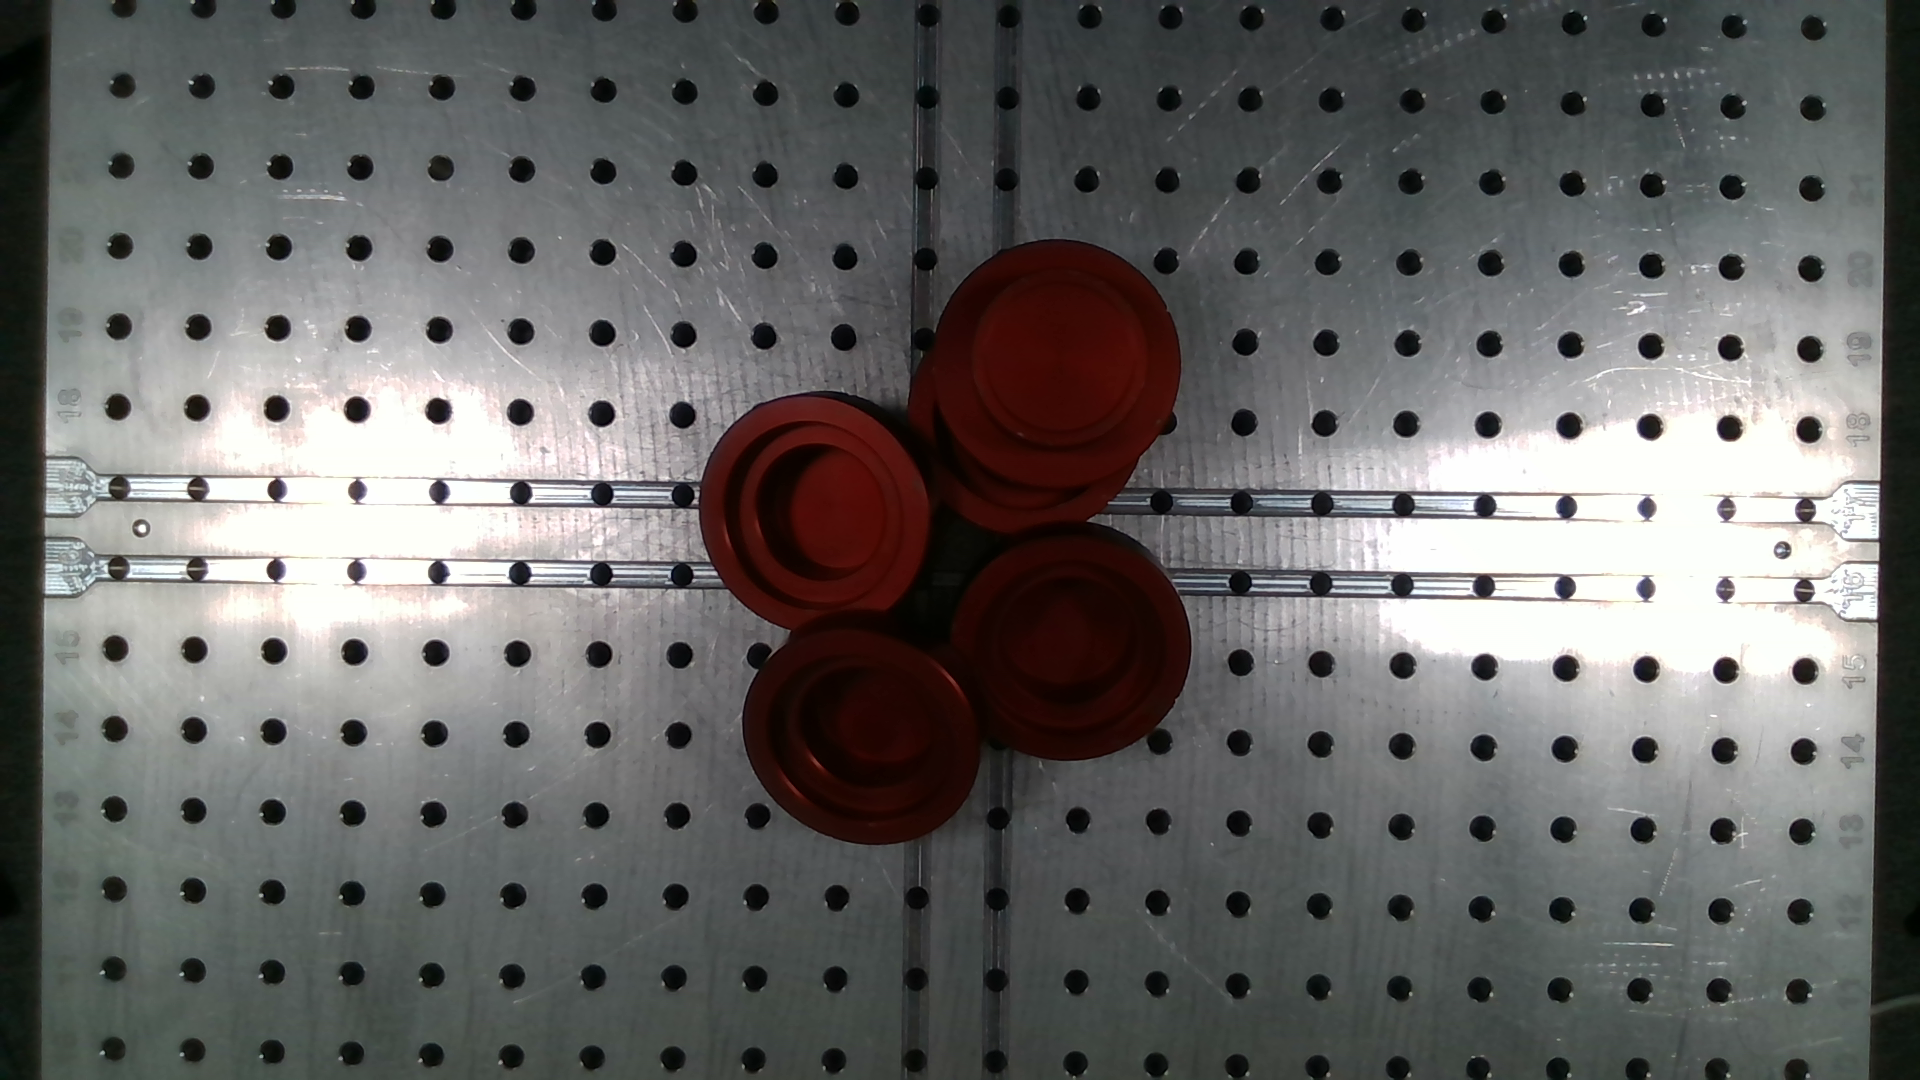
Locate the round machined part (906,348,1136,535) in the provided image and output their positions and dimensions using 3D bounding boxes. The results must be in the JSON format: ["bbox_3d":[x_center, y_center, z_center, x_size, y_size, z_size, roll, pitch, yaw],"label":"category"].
[{"bbox_3d":[0.027,-0.050,0.580,0.098,0.042,0.098,0,90,0],"label":"round machined part"}]

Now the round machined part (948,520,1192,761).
[{"bbox_3d":[0.044,0.039,0.572,0.098,0.042,0.098,0,107,1],"label":"round machined part"}]

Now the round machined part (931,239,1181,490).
[{"bbox_3d":[0.038,-0.069,0.538,0.098,0.042,0.098,0,90,0],"label":"round machined part"}]

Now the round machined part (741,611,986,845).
[{"bbox_3d":[-0.037,0.073,0.570,0.098,0.042,0.098,4,112,9],"label":"round machined part"}]

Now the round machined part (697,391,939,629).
[{"bbox_3d":[-0.056,-0.013,0.572,0.098,0.042,0.098,3,101,14],"label":"round machined part"}]
